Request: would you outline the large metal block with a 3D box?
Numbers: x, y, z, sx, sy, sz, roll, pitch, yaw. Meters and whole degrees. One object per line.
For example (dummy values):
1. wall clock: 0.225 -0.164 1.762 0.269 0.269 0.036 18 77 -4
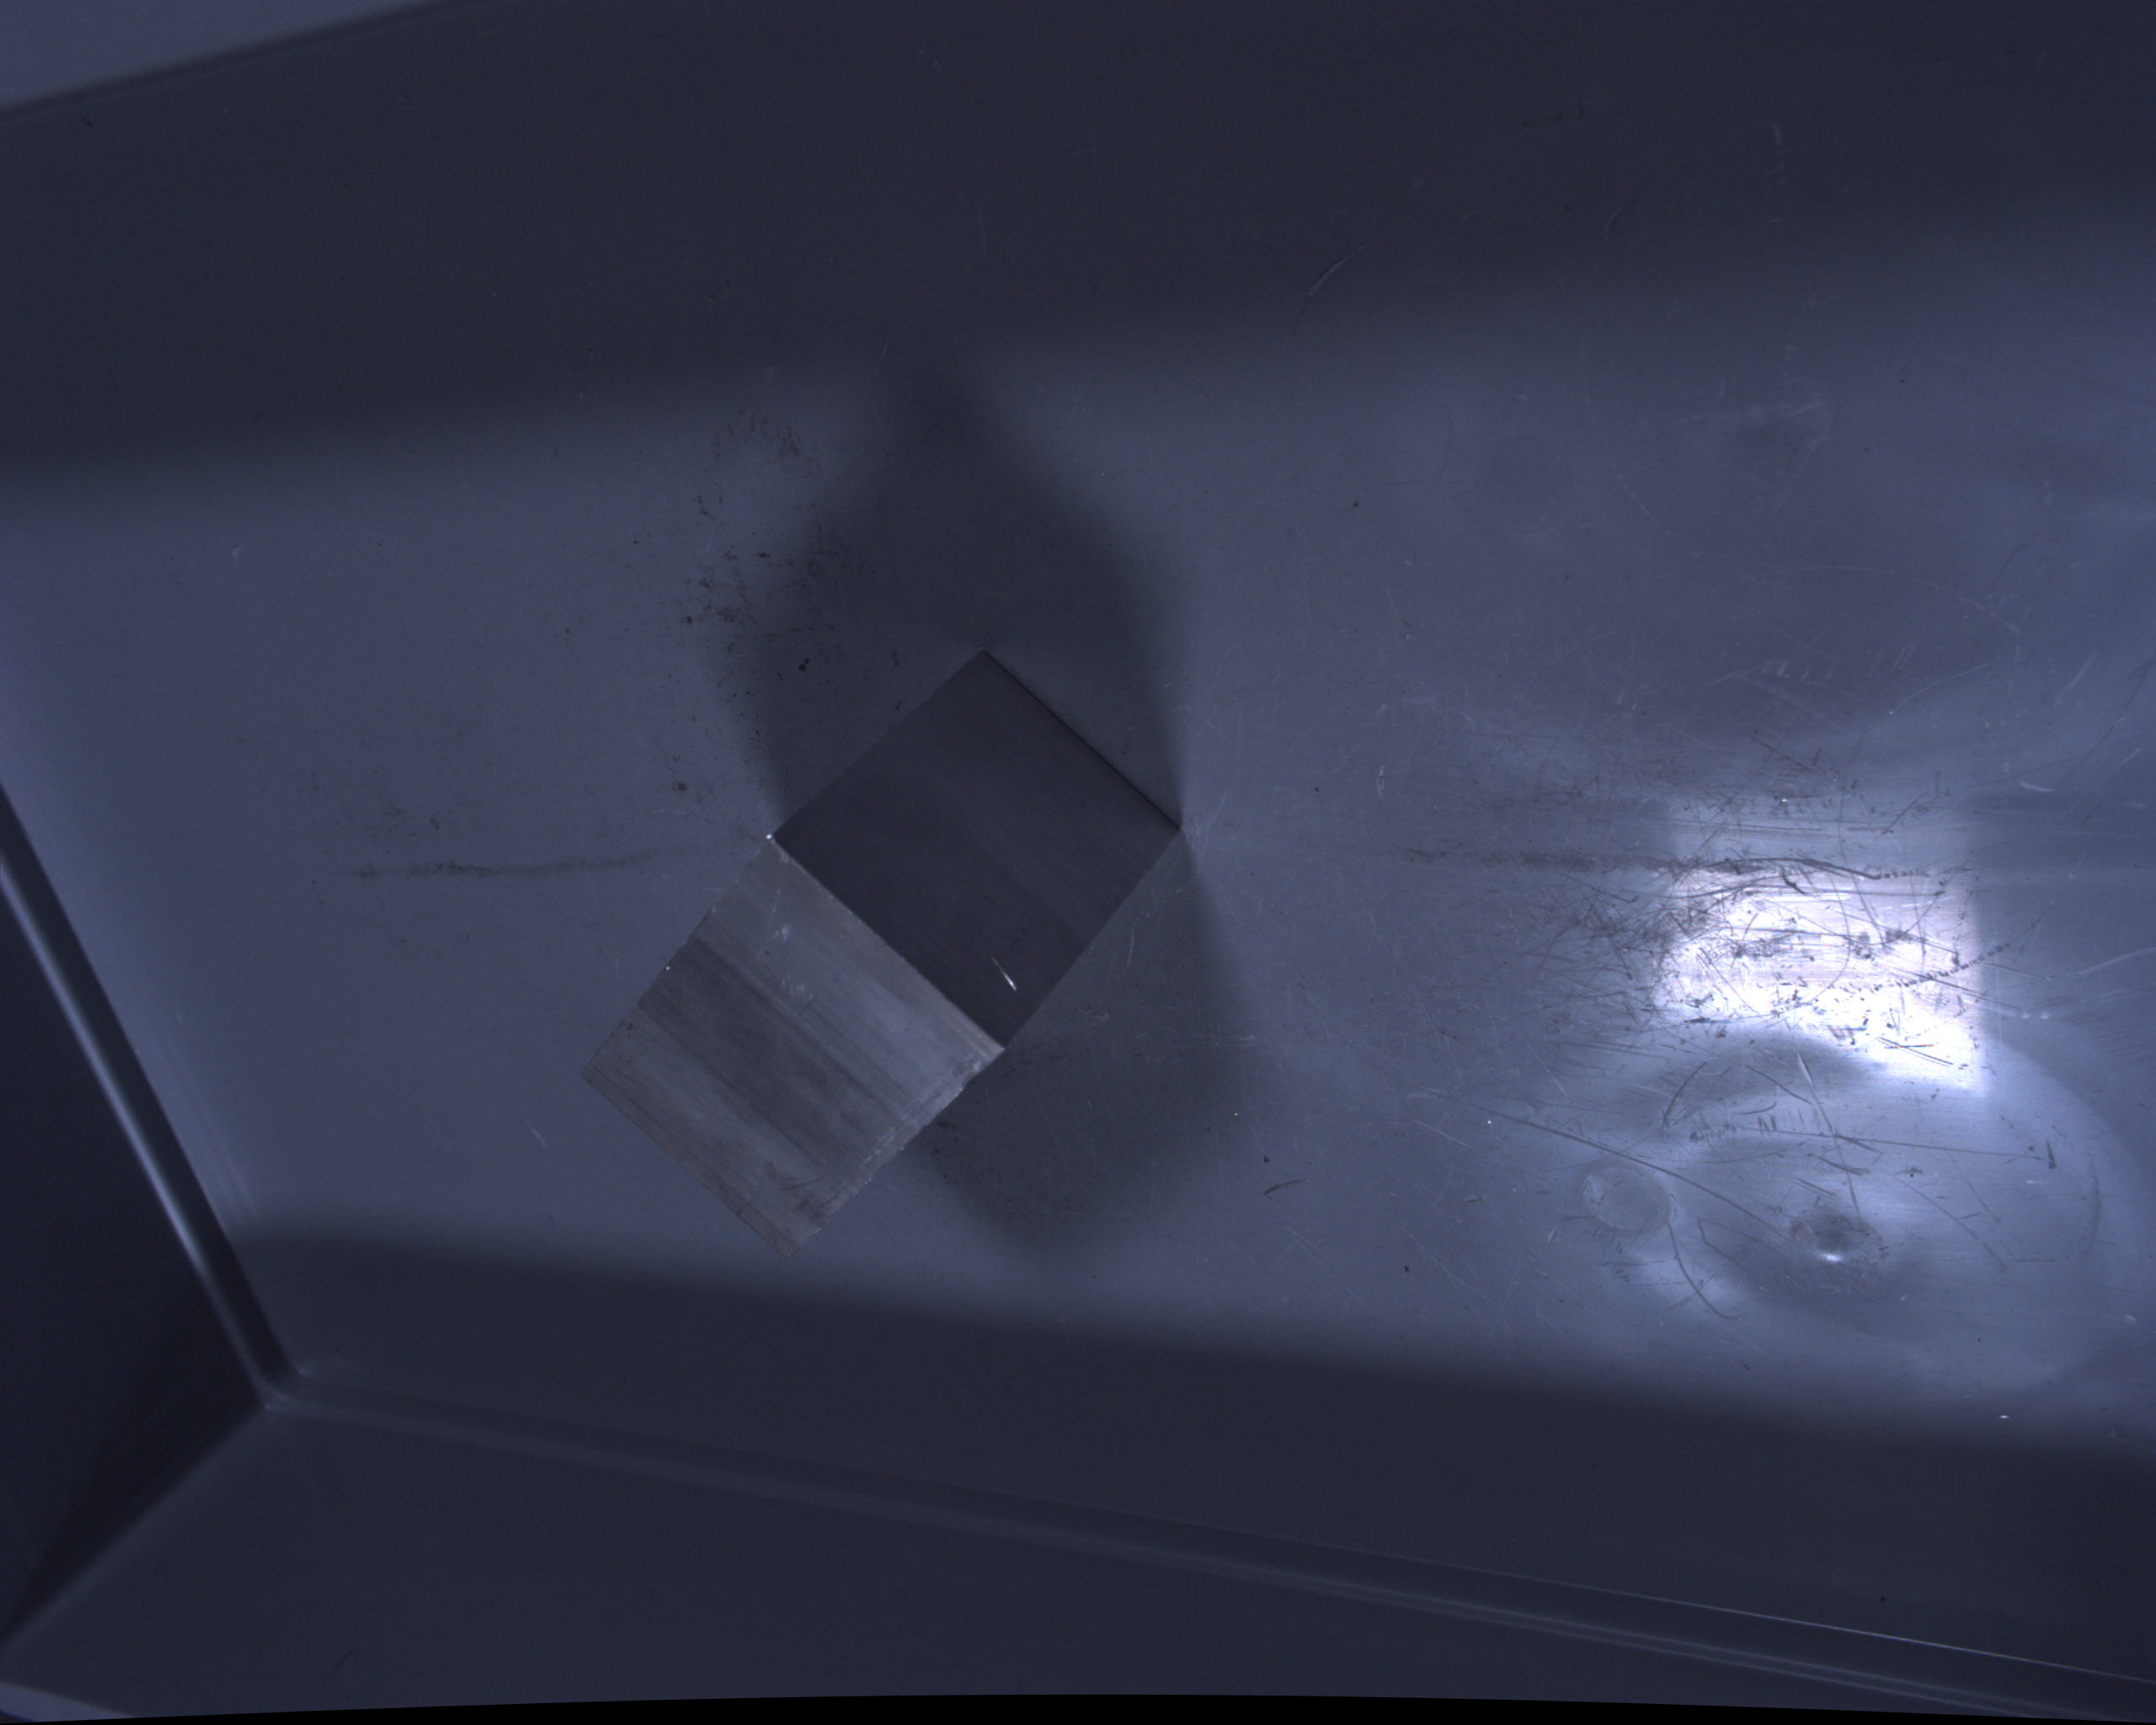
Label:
1. large metal block: -0.037 0.017 0.397 0.050 0.080 0.080 43 129 -2
